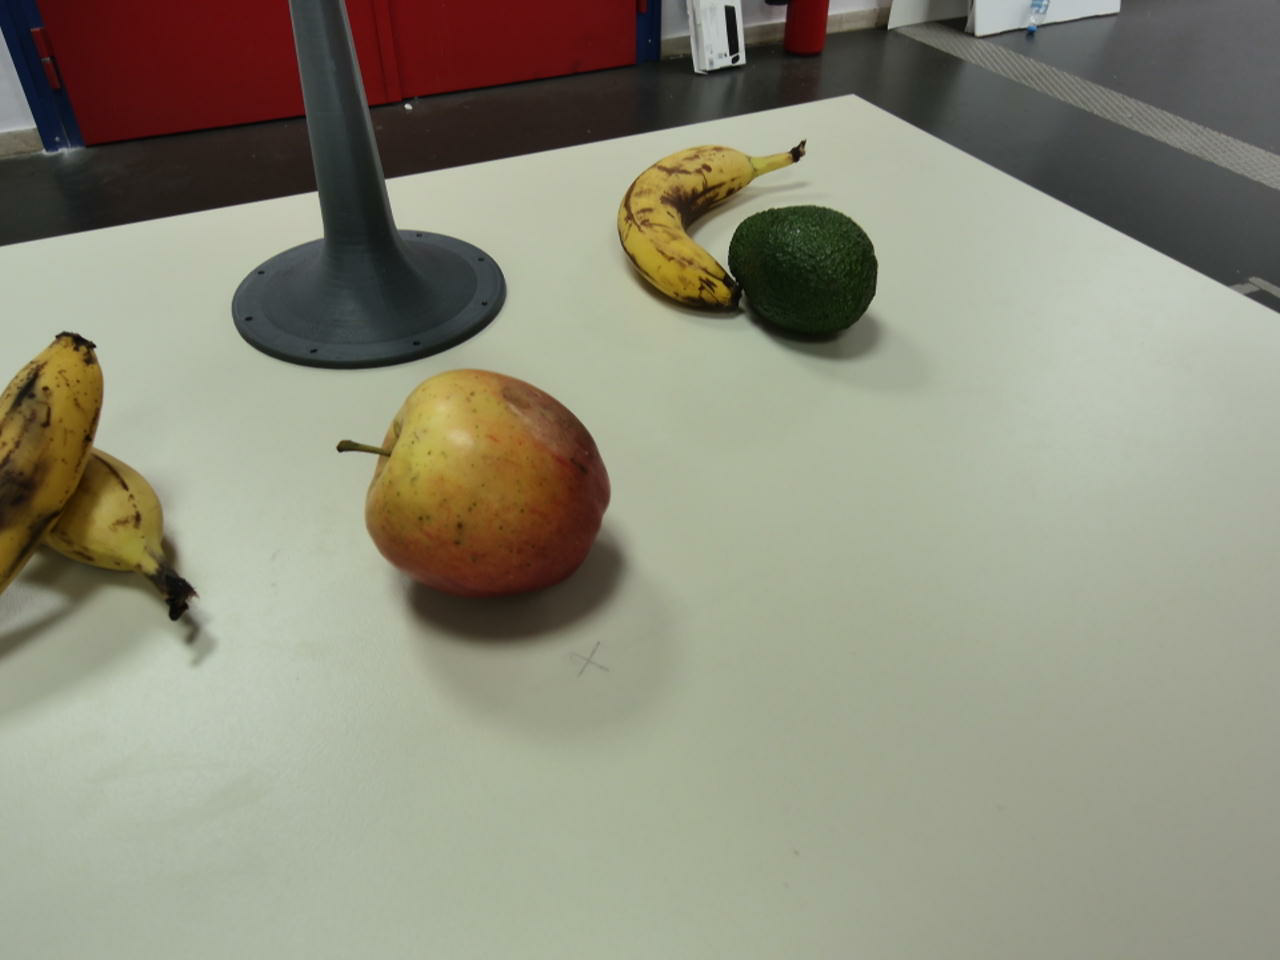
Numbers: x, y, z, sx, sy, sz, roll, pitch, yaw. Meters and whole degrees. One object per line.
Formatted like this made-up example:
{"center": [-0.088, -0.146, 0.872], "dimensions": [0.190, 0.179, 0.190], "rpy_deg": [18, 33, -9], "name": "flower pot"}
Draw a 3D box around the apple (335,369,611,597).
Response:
{"center": [-0.059, 0.002, 0.375], "dimensions": [0.093, 0.084, 0.086], "rpy_deg": [18, 41, 21], "name": "apple"}
